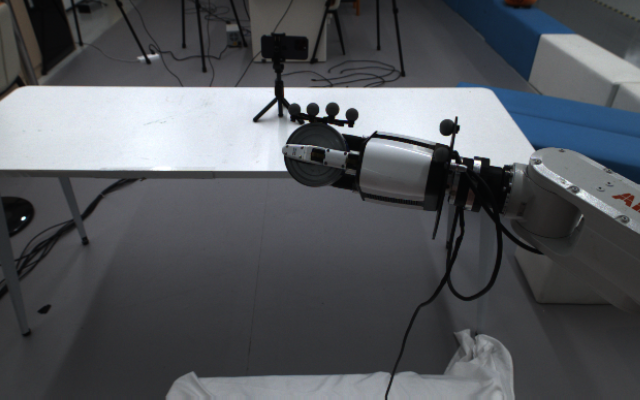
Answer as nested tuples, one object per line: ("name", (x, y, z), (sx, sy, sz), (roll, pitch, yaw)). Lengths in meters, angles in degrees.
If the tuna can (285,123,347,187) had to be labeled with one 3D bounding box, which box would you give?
("tuna can", (-0.003, -0.062, 0.651), (0.085, 0.085, 0.034), (11, 2, 13))
